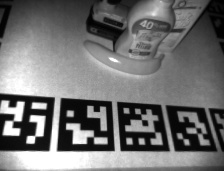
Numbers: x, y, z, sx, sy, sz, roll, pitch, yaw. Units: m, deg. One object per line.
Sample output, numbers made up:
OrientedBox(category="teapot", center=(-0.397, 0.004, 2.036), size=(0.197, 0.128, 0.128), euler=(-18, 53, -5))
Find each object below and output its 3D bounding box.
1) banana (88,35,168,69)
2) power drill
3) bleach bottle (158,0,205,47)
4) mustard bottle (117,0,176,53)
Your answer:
OrientedBox(category="banana", center=(0.039, -0.077, 0.506), size=(0.198, 0.039, 0.074), euler=(9, 62, -10))
OrientedBox(category="power drill", center=(0.044, -0.217, 0.456), size=(0.185, 0.186, 0.057), euler=(17, 58, -10))
OrientedBox(category="bleach bottle", center=(0.152, -0.196, 0.476), size=(0.103, 0.250, 0.067), euler=(7, 56, -12))
OrientedBox(category="mustard bottle", center=(0.079, -0.141, 0.452), size=(0.097, 0.191, 0.058), euler=(6, 62, -14))
